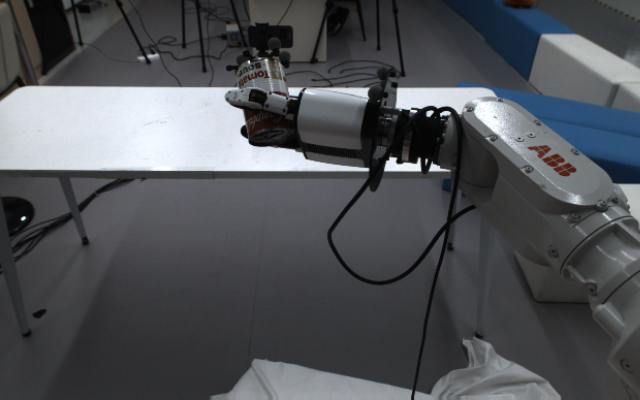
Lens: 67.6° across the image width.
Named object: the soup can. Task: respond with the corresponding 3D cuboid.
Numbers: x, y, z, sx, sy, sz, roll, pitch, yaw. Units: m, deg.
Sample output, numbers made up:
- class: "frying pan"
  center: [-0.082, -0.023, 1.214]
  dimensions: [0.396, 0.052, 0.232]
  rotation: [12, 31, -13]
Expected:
- class: "soup can"
  center: [-0.072, -0.131, 0.659]
  dimensions: [0.067, 0.067, 0.101]
  rotation: [-10, 79, -17]
